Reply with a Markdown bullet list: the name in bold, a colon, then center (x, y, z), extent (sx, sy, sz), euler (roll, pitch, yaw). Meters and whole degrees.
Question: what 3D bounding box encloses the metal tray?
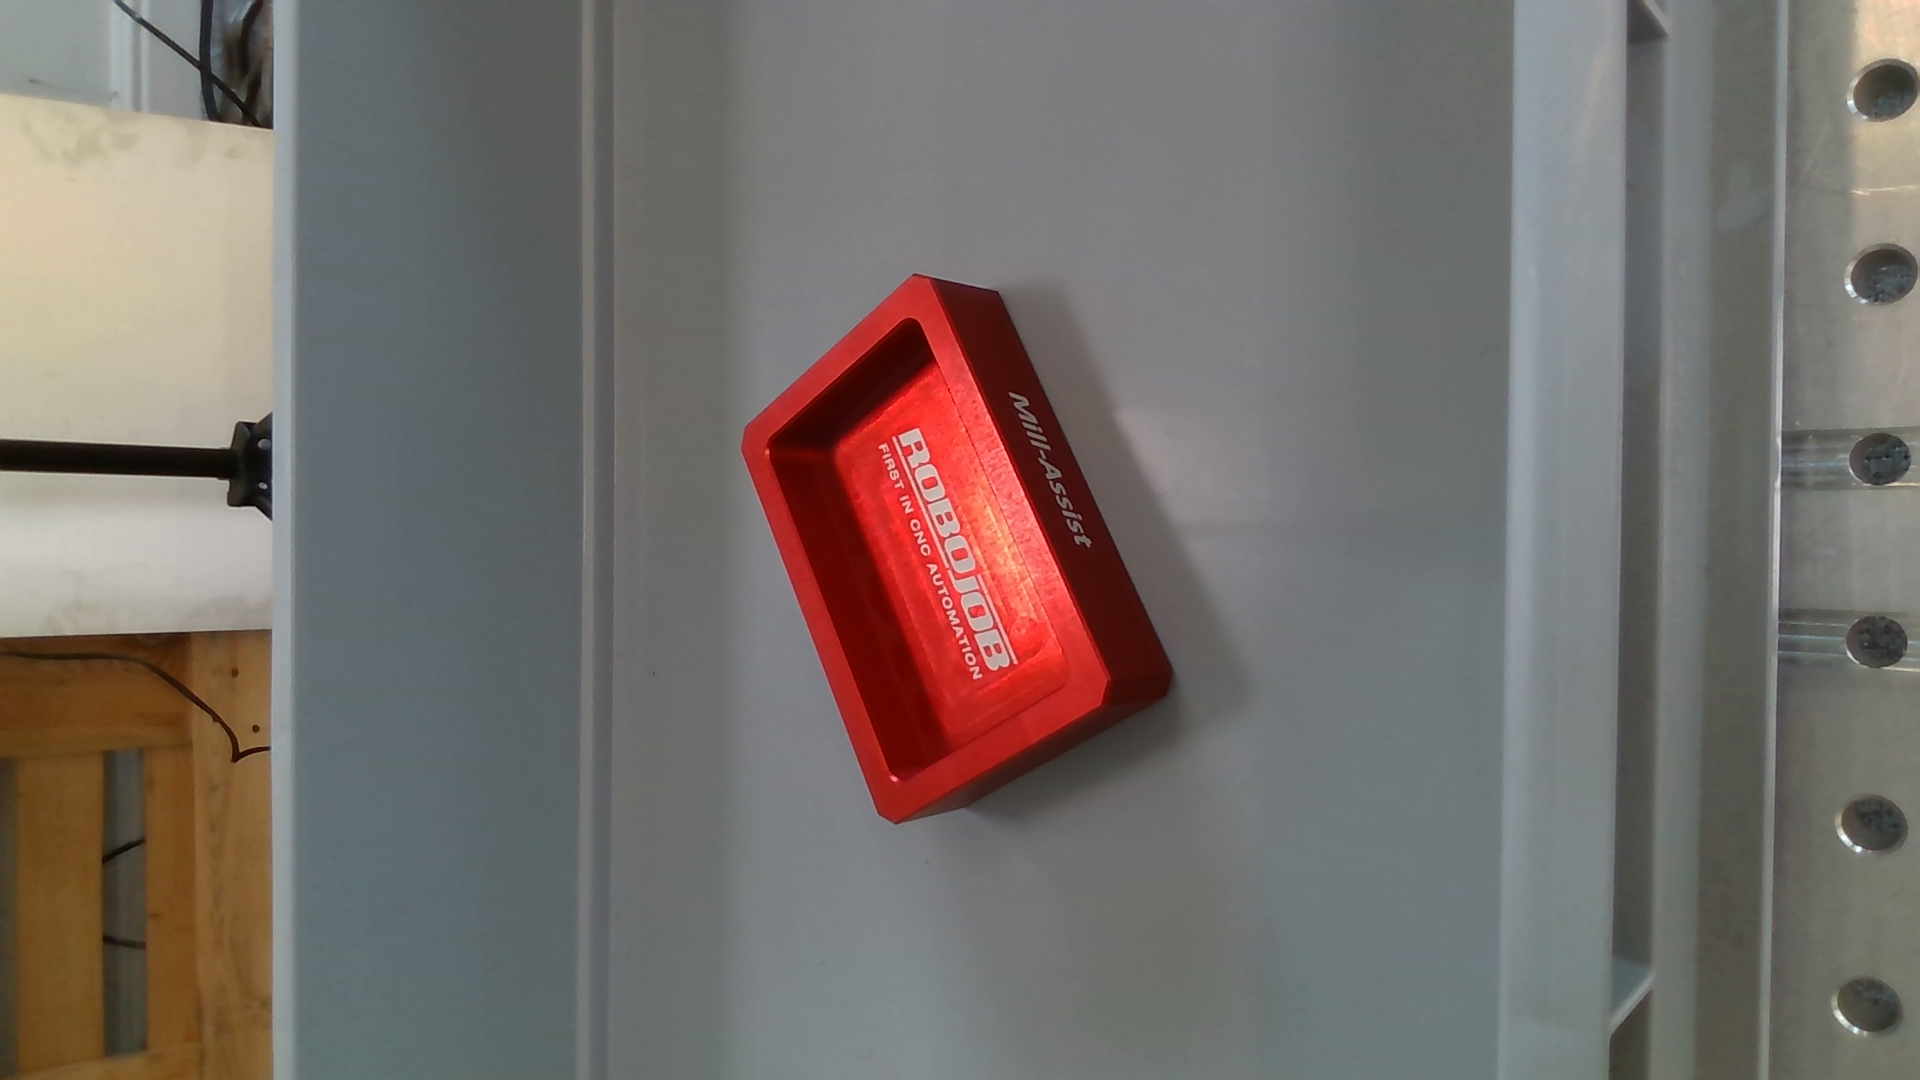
- **metal tray**: center (-0.007, 0.003, 0.389), extent (0.090, 0.030, 0.130), euler (-36, 69, 35)
